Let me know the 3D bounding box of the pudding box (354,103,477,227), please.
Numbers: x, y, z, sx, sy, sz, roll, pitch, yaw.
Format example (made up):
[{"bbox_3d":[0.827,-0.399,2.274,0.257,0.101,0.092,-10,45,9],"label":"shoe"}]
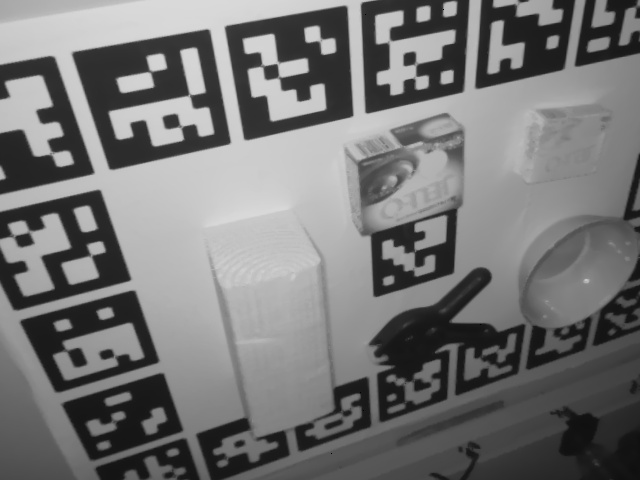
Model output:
[{"bbox_3d":[0.092,-0.072,0.654,0.115,0.038,0.089,-17,121,-14],"label":"pudding box"}]

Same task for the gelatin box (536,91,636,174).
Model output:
[{"bbox_3d":[0.270,-0.109,0.703,0.090,0.030,0.072,-8,122,-17],"label":"gelatin box"}]

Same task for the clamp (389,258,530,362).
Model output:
[{"bbox_3d":[0.159,0.095,0.797,0.166,0.036,0.121,-23,126,-4],"label":"clamp"}]

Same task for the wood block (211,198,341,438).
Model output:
[{"bbox_3d":[-0.040,0.077,0.662,0.090,0.091,0.204,-12,124,-12],"label":"wood block"}]

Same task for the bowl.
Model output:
[{"bbox_3d":[0.312,0.026,0.800,0.163,0.055,0.160,-9,121,-15],"label":"bowl"}]
